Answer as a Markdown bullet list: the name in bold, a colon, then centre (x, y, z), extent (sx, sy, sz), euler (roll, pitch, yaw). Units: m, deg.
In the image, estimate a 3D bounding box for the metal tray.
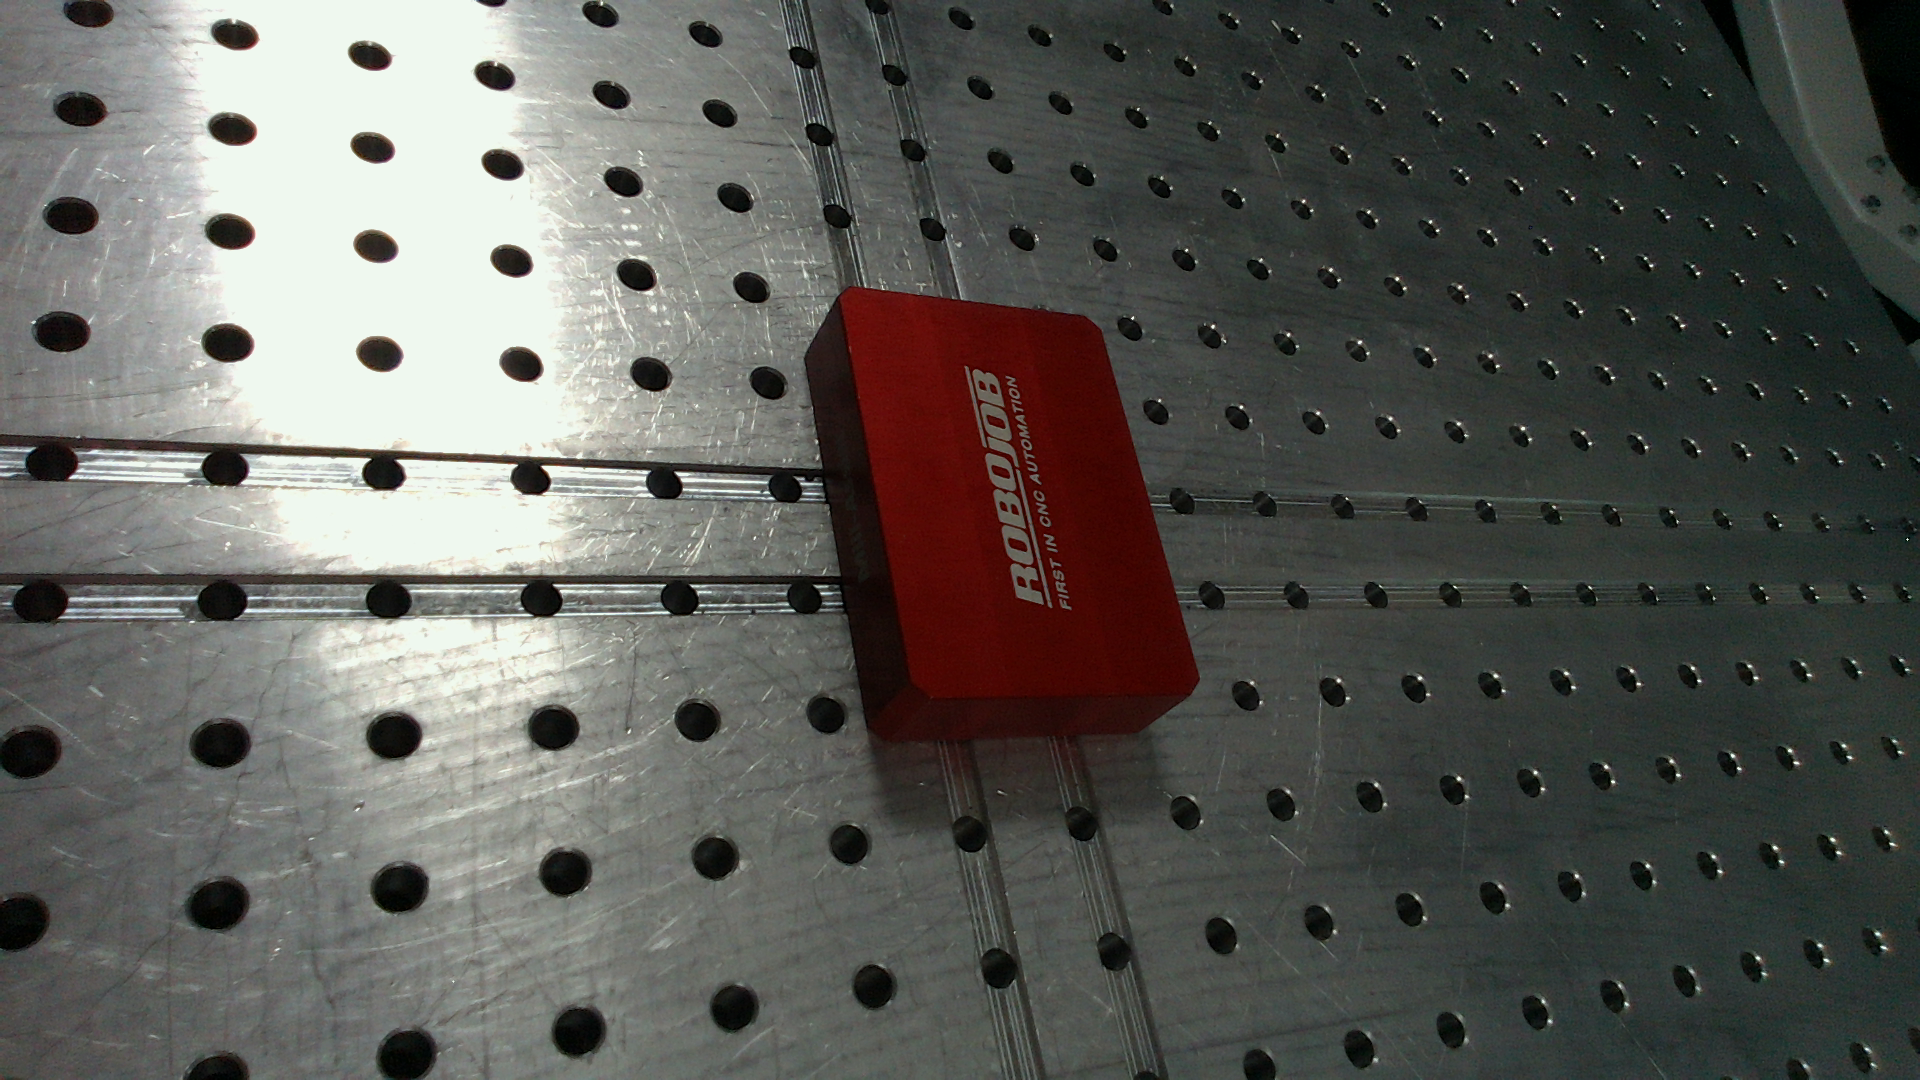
- **metal tray**: centre (0.010, -0.009, 0.400), extent (0.090, 0.030, 0.130), euler (2, 61, -27)
